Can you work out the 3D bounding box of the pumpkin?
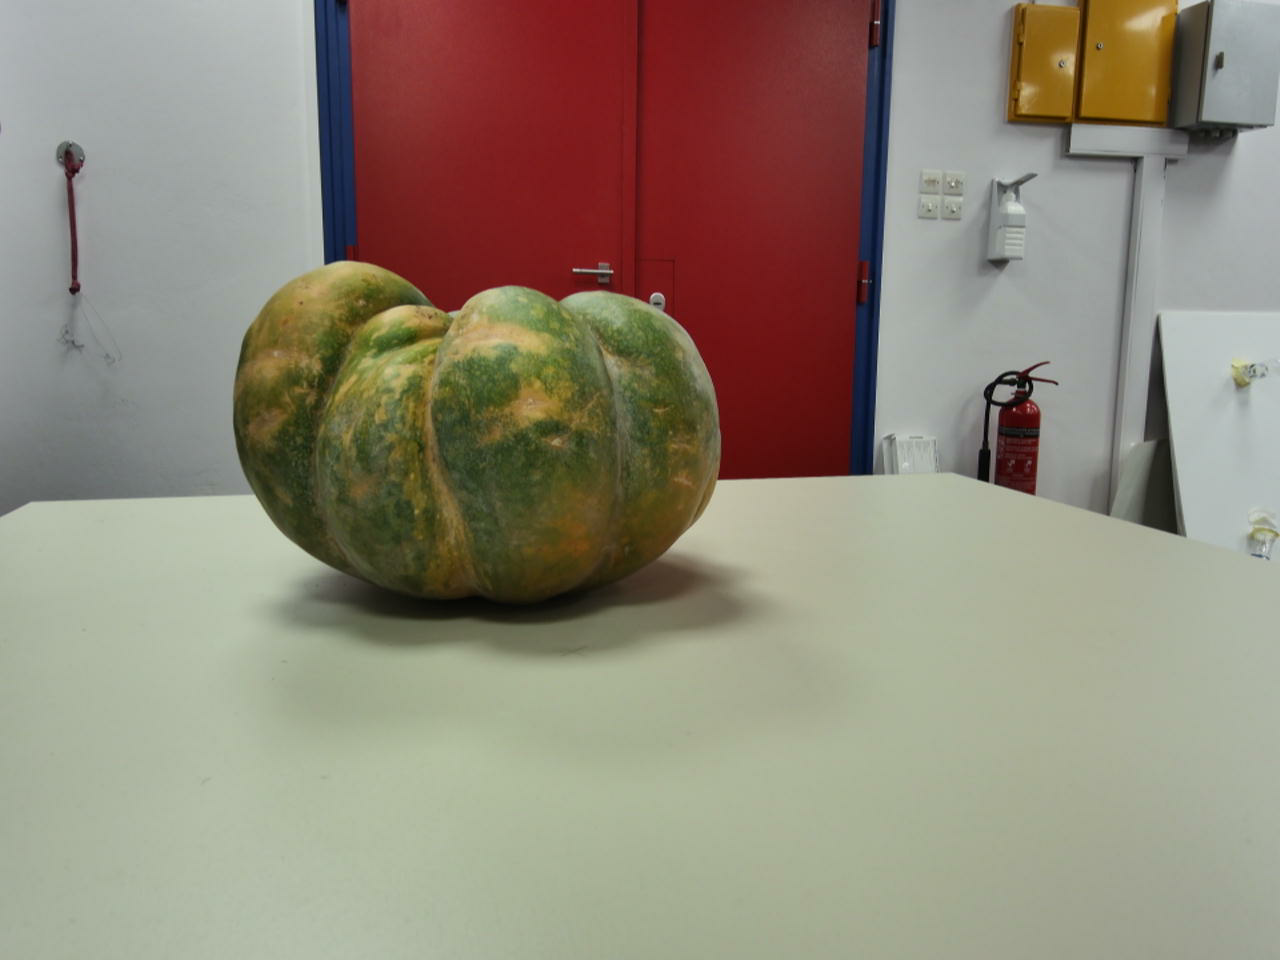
[{"bbox_3d":[-0.084,-0.027,0.547,0.270,0.173,0.237,3,7,24],"label":"pumpkin"}]
